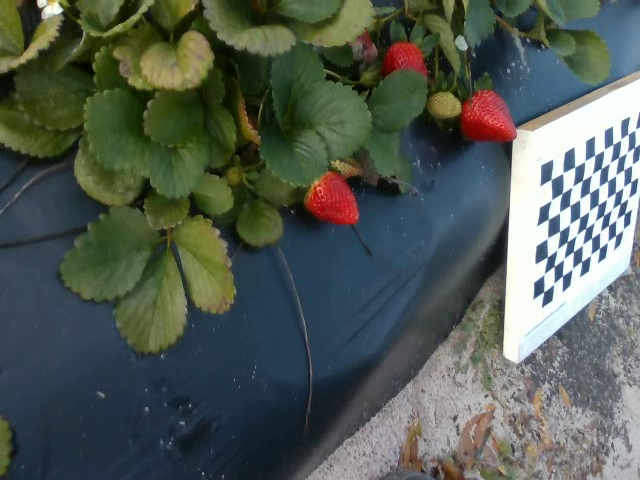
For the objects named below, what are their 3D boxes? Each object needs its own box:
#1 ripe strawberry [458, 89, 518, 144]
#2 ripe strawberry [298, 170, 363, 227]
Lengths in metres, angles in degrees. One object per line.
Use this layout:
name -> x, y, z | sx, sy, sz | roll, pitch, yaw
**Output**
ripe strawberry -> 0.069, -0.045, 0.232 | 0.022, 0.025, 0.030 | -26, 43, -4
ripe strawberry -> 0.005, -0.011, 0.189 | 0.018, 0.021, 0.017 | -46, 0, -22
